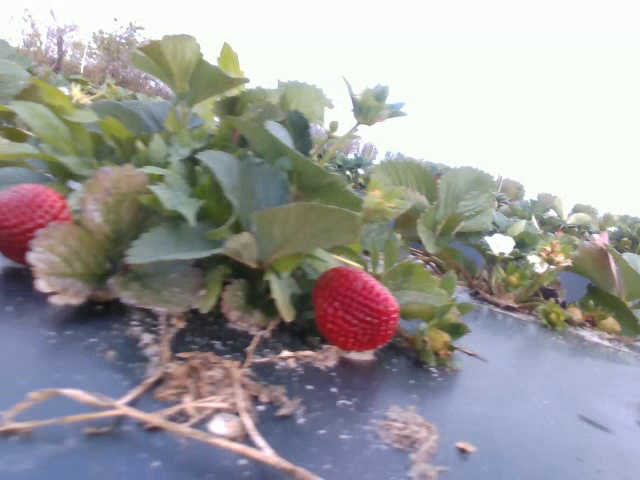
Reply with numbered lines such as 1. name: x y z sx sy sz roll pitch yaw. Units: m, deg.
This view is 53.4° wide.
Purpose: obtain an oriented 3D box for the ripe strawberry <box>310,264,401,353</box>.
1. ripe strawberry: 0.020 0.029 0.289 0.043 0.047 0.046 -23 13 -37

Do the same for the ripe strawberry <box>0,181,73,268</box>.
1. ripe strawberry: -0.139 -0.006 0.288 0.043 0.043 0.050 23 11 25
